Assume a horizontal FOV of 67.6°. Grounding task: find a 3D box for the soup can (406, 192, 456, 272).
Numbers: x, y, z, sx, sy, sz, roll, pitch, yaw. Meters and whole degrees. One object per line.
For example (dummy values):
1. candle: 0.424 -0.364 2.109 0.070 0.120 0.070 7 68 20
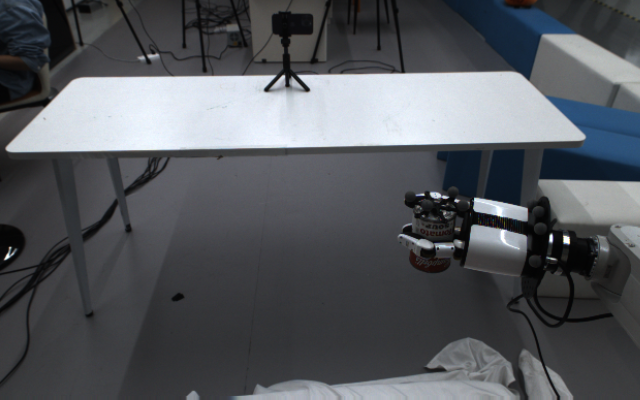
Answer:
1. soup can: 0.181 0.056 0.774 0.067 0.101 0.067 -2 32 1
